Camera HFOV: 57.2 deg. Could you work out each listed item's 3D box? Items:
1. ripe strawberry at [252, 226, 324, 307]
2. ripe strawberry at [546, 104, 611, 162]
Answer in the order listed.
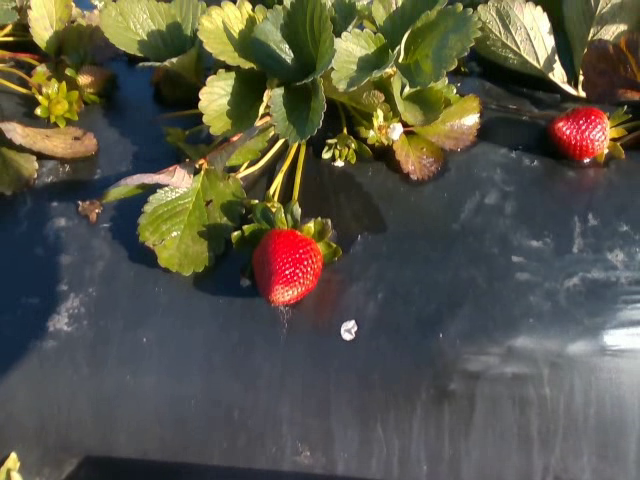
[{"bbox_3d":[-0.018,0.017,0.302,0.045,0.042,0.055,11,34,-2],"label":"ripe strawberry"},{"bbox_3d":[0.150,-0.064,0.340,0.046,0.035,0.036,5,-26,-10],"label":"ripe strawberry"}]
